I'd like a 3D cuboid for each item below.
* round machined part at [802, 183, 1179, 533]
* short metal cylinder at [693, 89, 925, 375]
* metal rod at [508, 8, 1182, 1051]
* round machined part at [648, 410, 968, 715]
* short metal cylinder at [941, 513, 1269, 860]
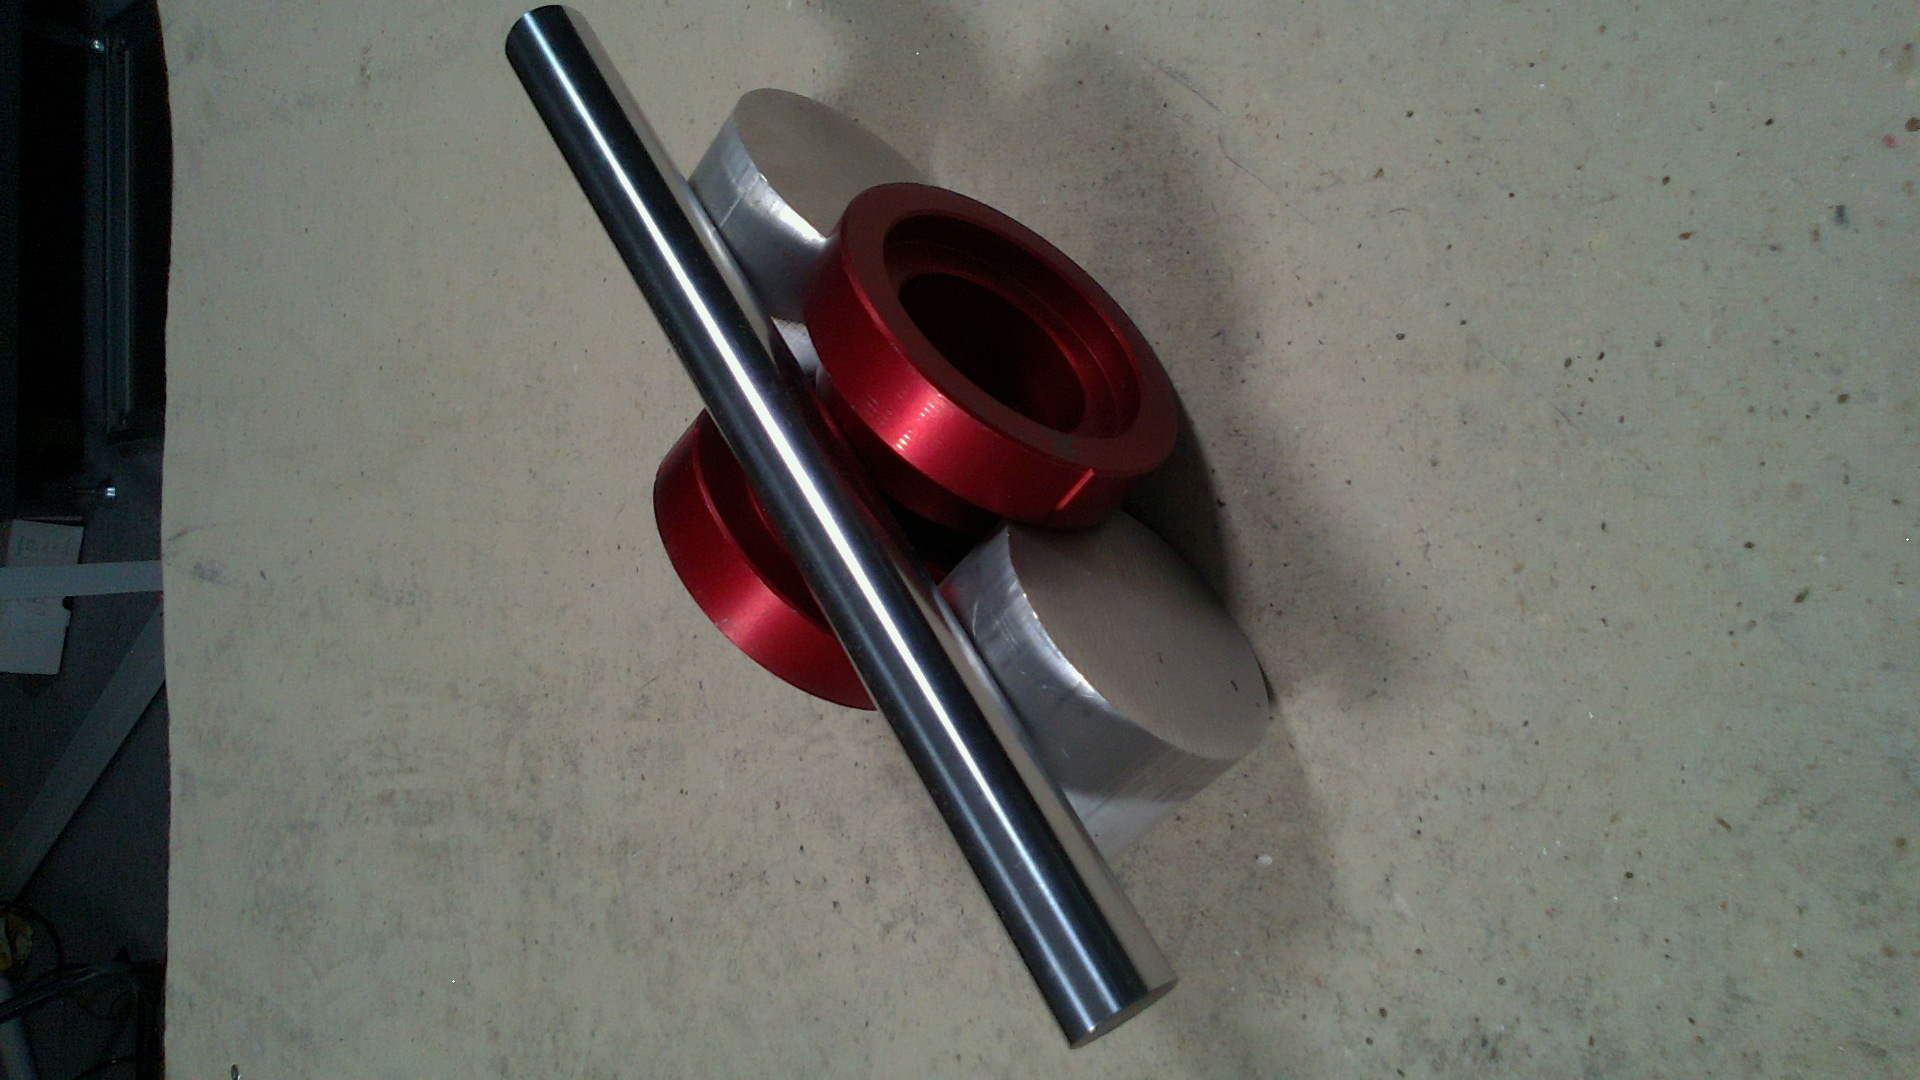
[{"bbox_3d":[0.004,-0.040,0.344,0.042,0.098,0.098,-49,61,34],"label":"round machined part"},{"bbox_3d":[-0.043,-0.082,0.394,0.050,0.080,0.080,-47,62,30],"label":"short metal cylinder"},{"bbox_3d":[-0.041,-0.024,0.325,0.025,0.025,0.300,-48,62,30],"label":"metal rod"},{"bbox_3d":[-0.031,-0.005,0.371,0.042,0.098,0.098,-45,63,27],"label":"round machined part"},{"bbox_3d":[0.028,0.033,0.335,0.050,0.080,0.080,-47,62,30],"label":"short metal cylinder"}]
